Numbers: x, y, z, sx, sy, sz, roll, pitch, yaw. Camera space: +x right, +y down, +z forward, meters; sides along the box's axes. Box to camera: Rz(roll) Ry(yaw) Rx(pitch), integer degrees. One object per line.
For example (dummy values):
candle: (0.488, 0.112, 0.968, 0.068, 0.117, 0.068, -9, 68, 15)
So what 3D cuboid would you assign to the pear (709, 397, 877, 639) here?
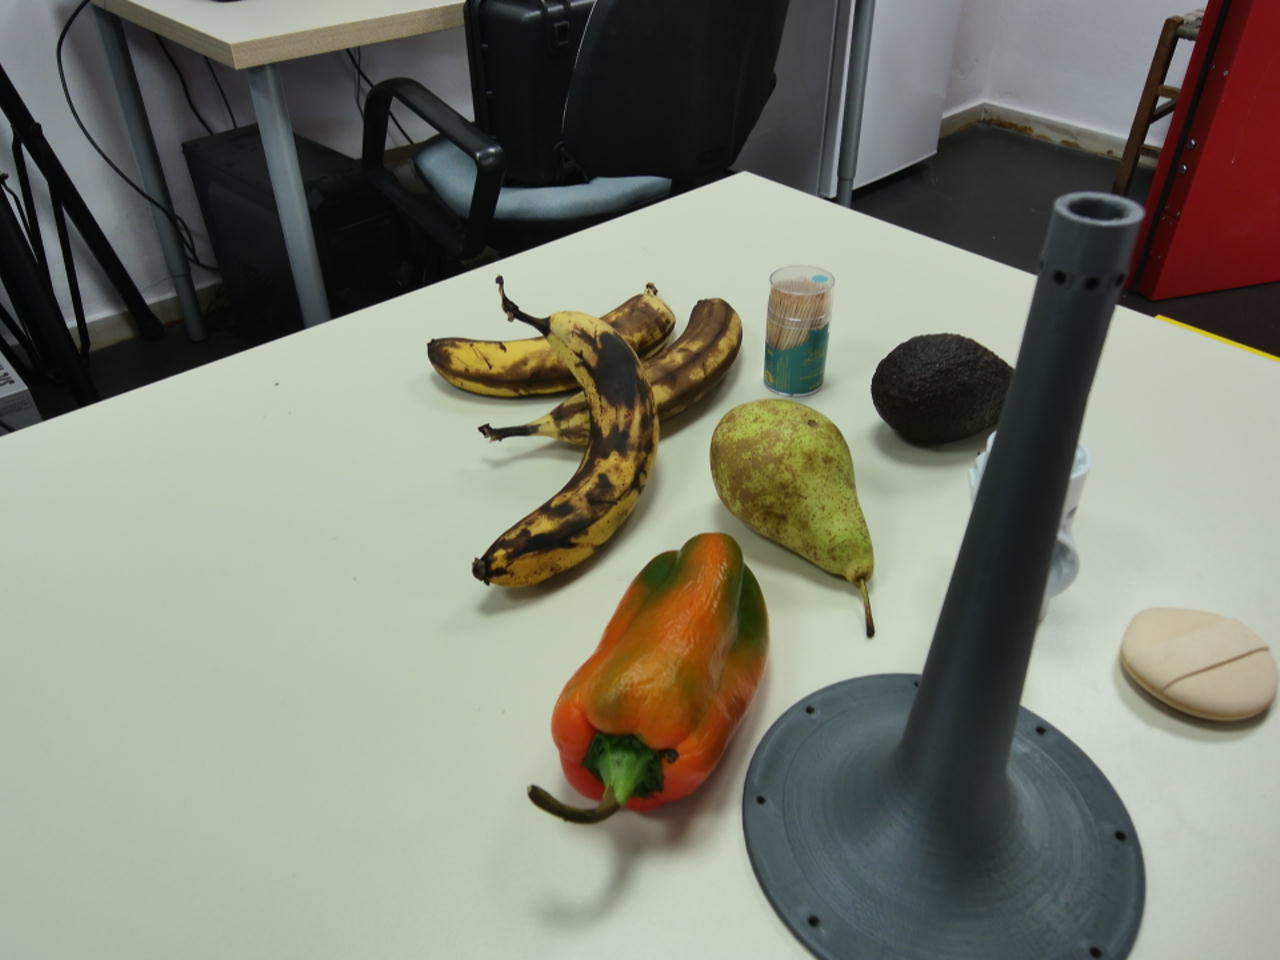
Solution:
pear: (0.089, 0.004, 0.517, 0.128, 0.075, 0.071, 29, 44, 32)
